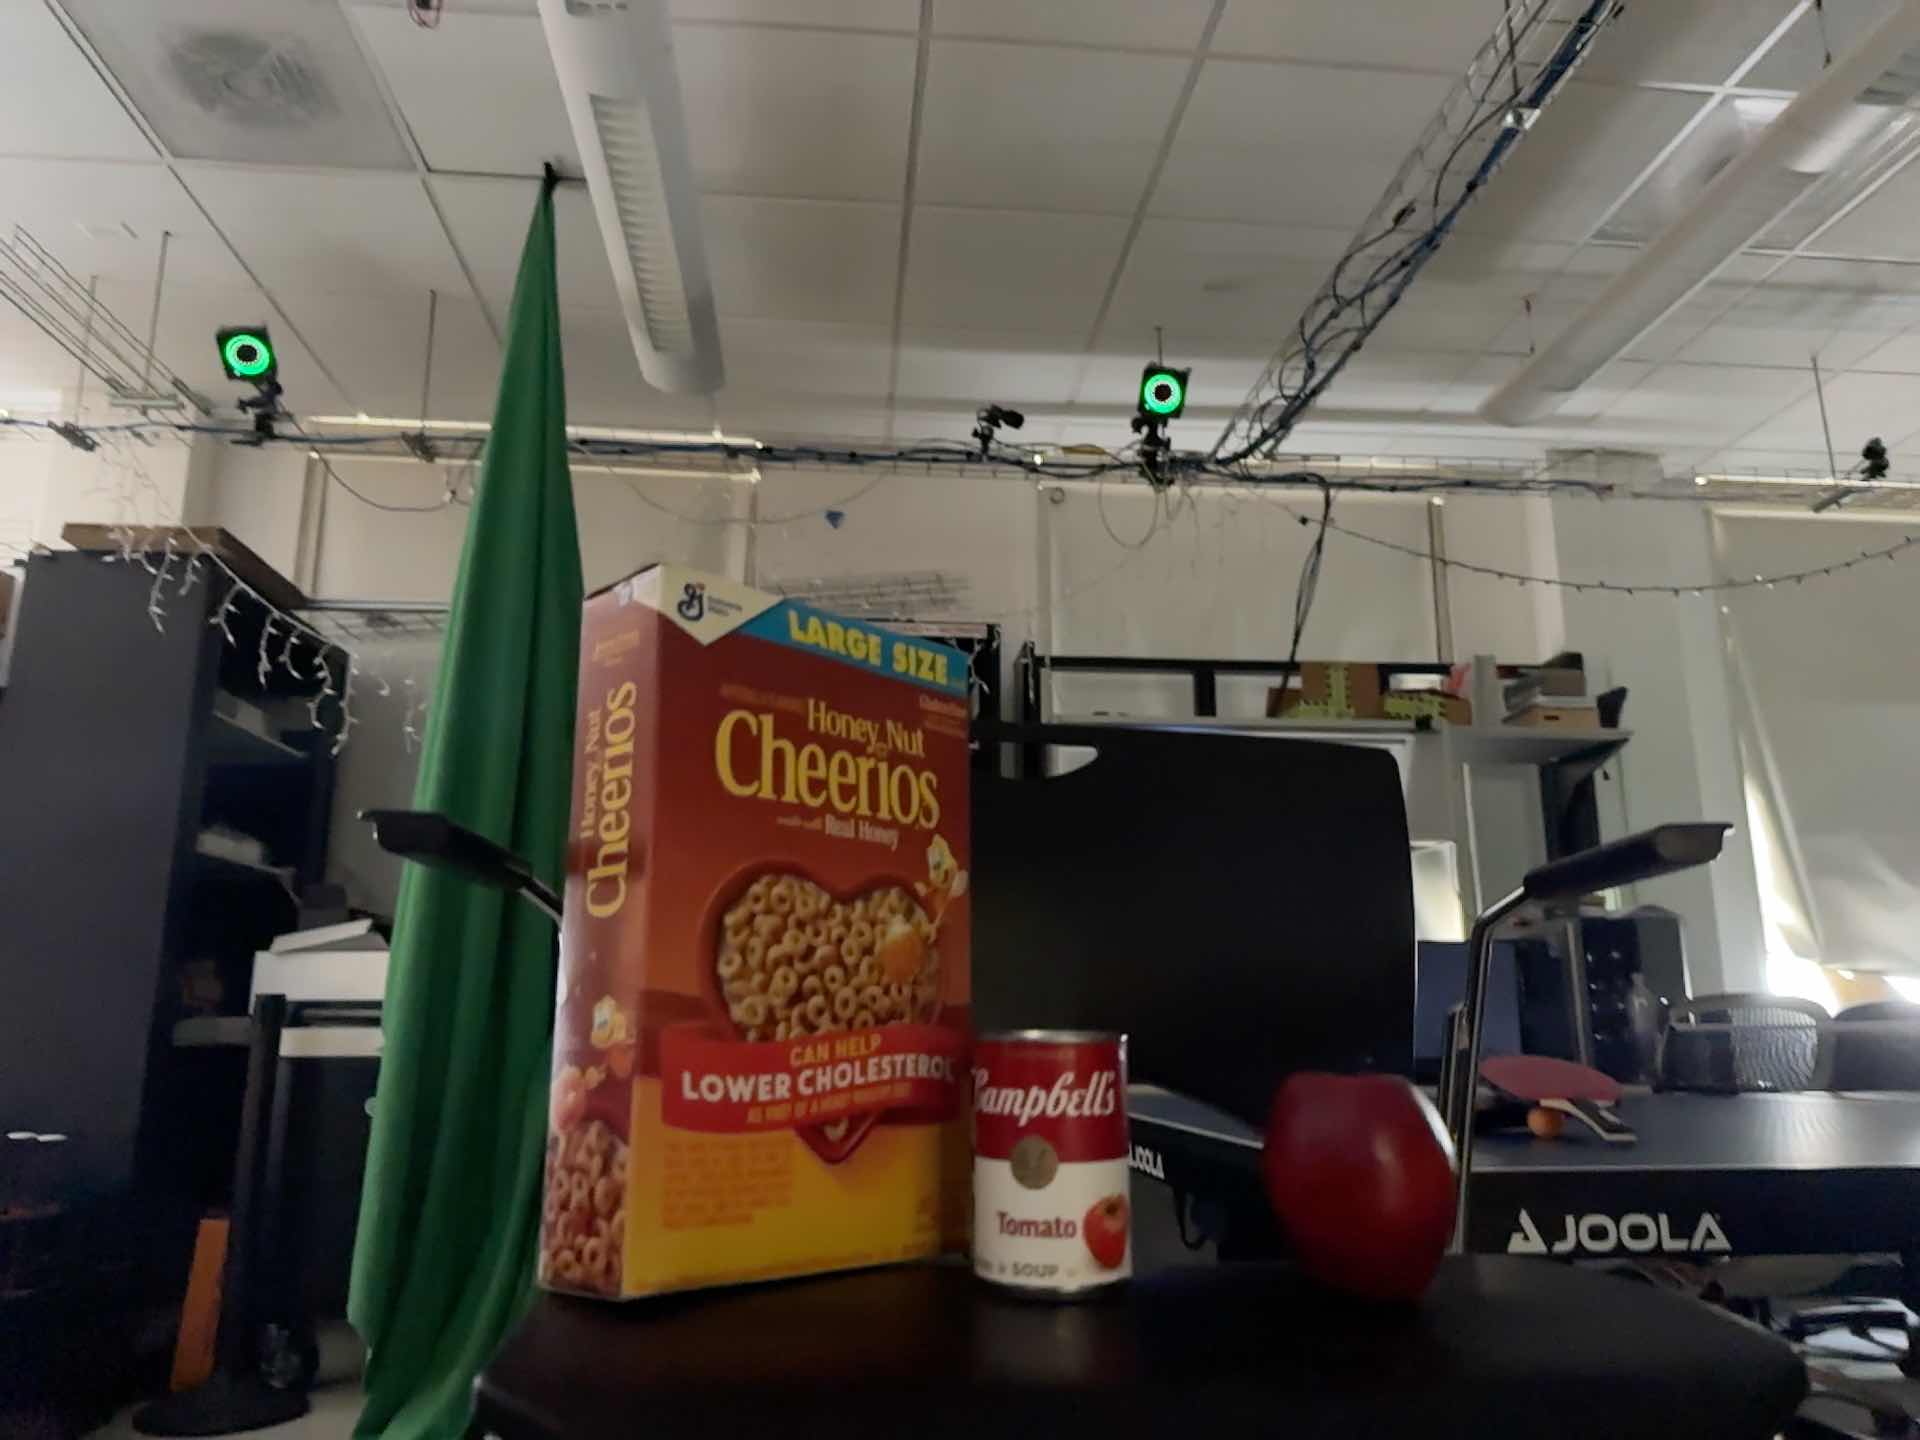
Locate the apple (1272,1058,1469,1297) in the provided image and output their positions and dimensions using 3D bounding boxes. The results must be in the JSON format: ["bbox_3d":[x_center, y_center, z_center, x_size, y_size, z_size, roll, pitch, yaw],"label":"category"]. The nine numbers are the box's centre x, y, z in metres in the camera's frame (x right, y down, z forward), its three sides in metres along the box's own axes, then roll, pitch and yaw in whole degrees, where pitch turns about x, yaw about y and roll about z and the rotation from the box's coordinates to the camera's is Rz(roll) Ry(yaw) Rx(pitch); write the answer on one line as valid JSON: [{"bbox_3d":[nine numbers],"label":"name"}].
[{"bbox_3d":[0.170,0.188,0.560,0.079,0.093,0.079,0,-6,0],"label":"apple"}]

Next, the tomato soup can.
[{"bbox_3d":[0.042,0.188,0.583,0.067,0.102,0.067,1,-10,0],"label":"tomato soup can"}]

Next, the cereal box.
[{"bbox_3d":[-0.086,0.098,0.642,0.065,0.297,0.195,-11,-17,44],"label":"cereal box"}]
